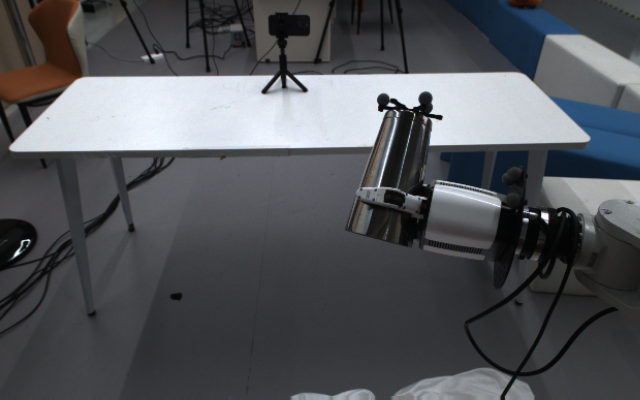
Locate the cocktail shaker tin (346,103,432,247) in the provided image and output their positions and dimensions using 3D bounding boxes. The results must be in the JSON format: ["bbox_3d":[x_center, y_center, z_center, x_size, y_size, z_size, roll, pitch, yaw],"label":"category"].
[{"bbox_3d":[0.099,-0.030,0.652,0.093,0.170,0.093,15,-4,1],"label":"cocktail shaker tin"}]
